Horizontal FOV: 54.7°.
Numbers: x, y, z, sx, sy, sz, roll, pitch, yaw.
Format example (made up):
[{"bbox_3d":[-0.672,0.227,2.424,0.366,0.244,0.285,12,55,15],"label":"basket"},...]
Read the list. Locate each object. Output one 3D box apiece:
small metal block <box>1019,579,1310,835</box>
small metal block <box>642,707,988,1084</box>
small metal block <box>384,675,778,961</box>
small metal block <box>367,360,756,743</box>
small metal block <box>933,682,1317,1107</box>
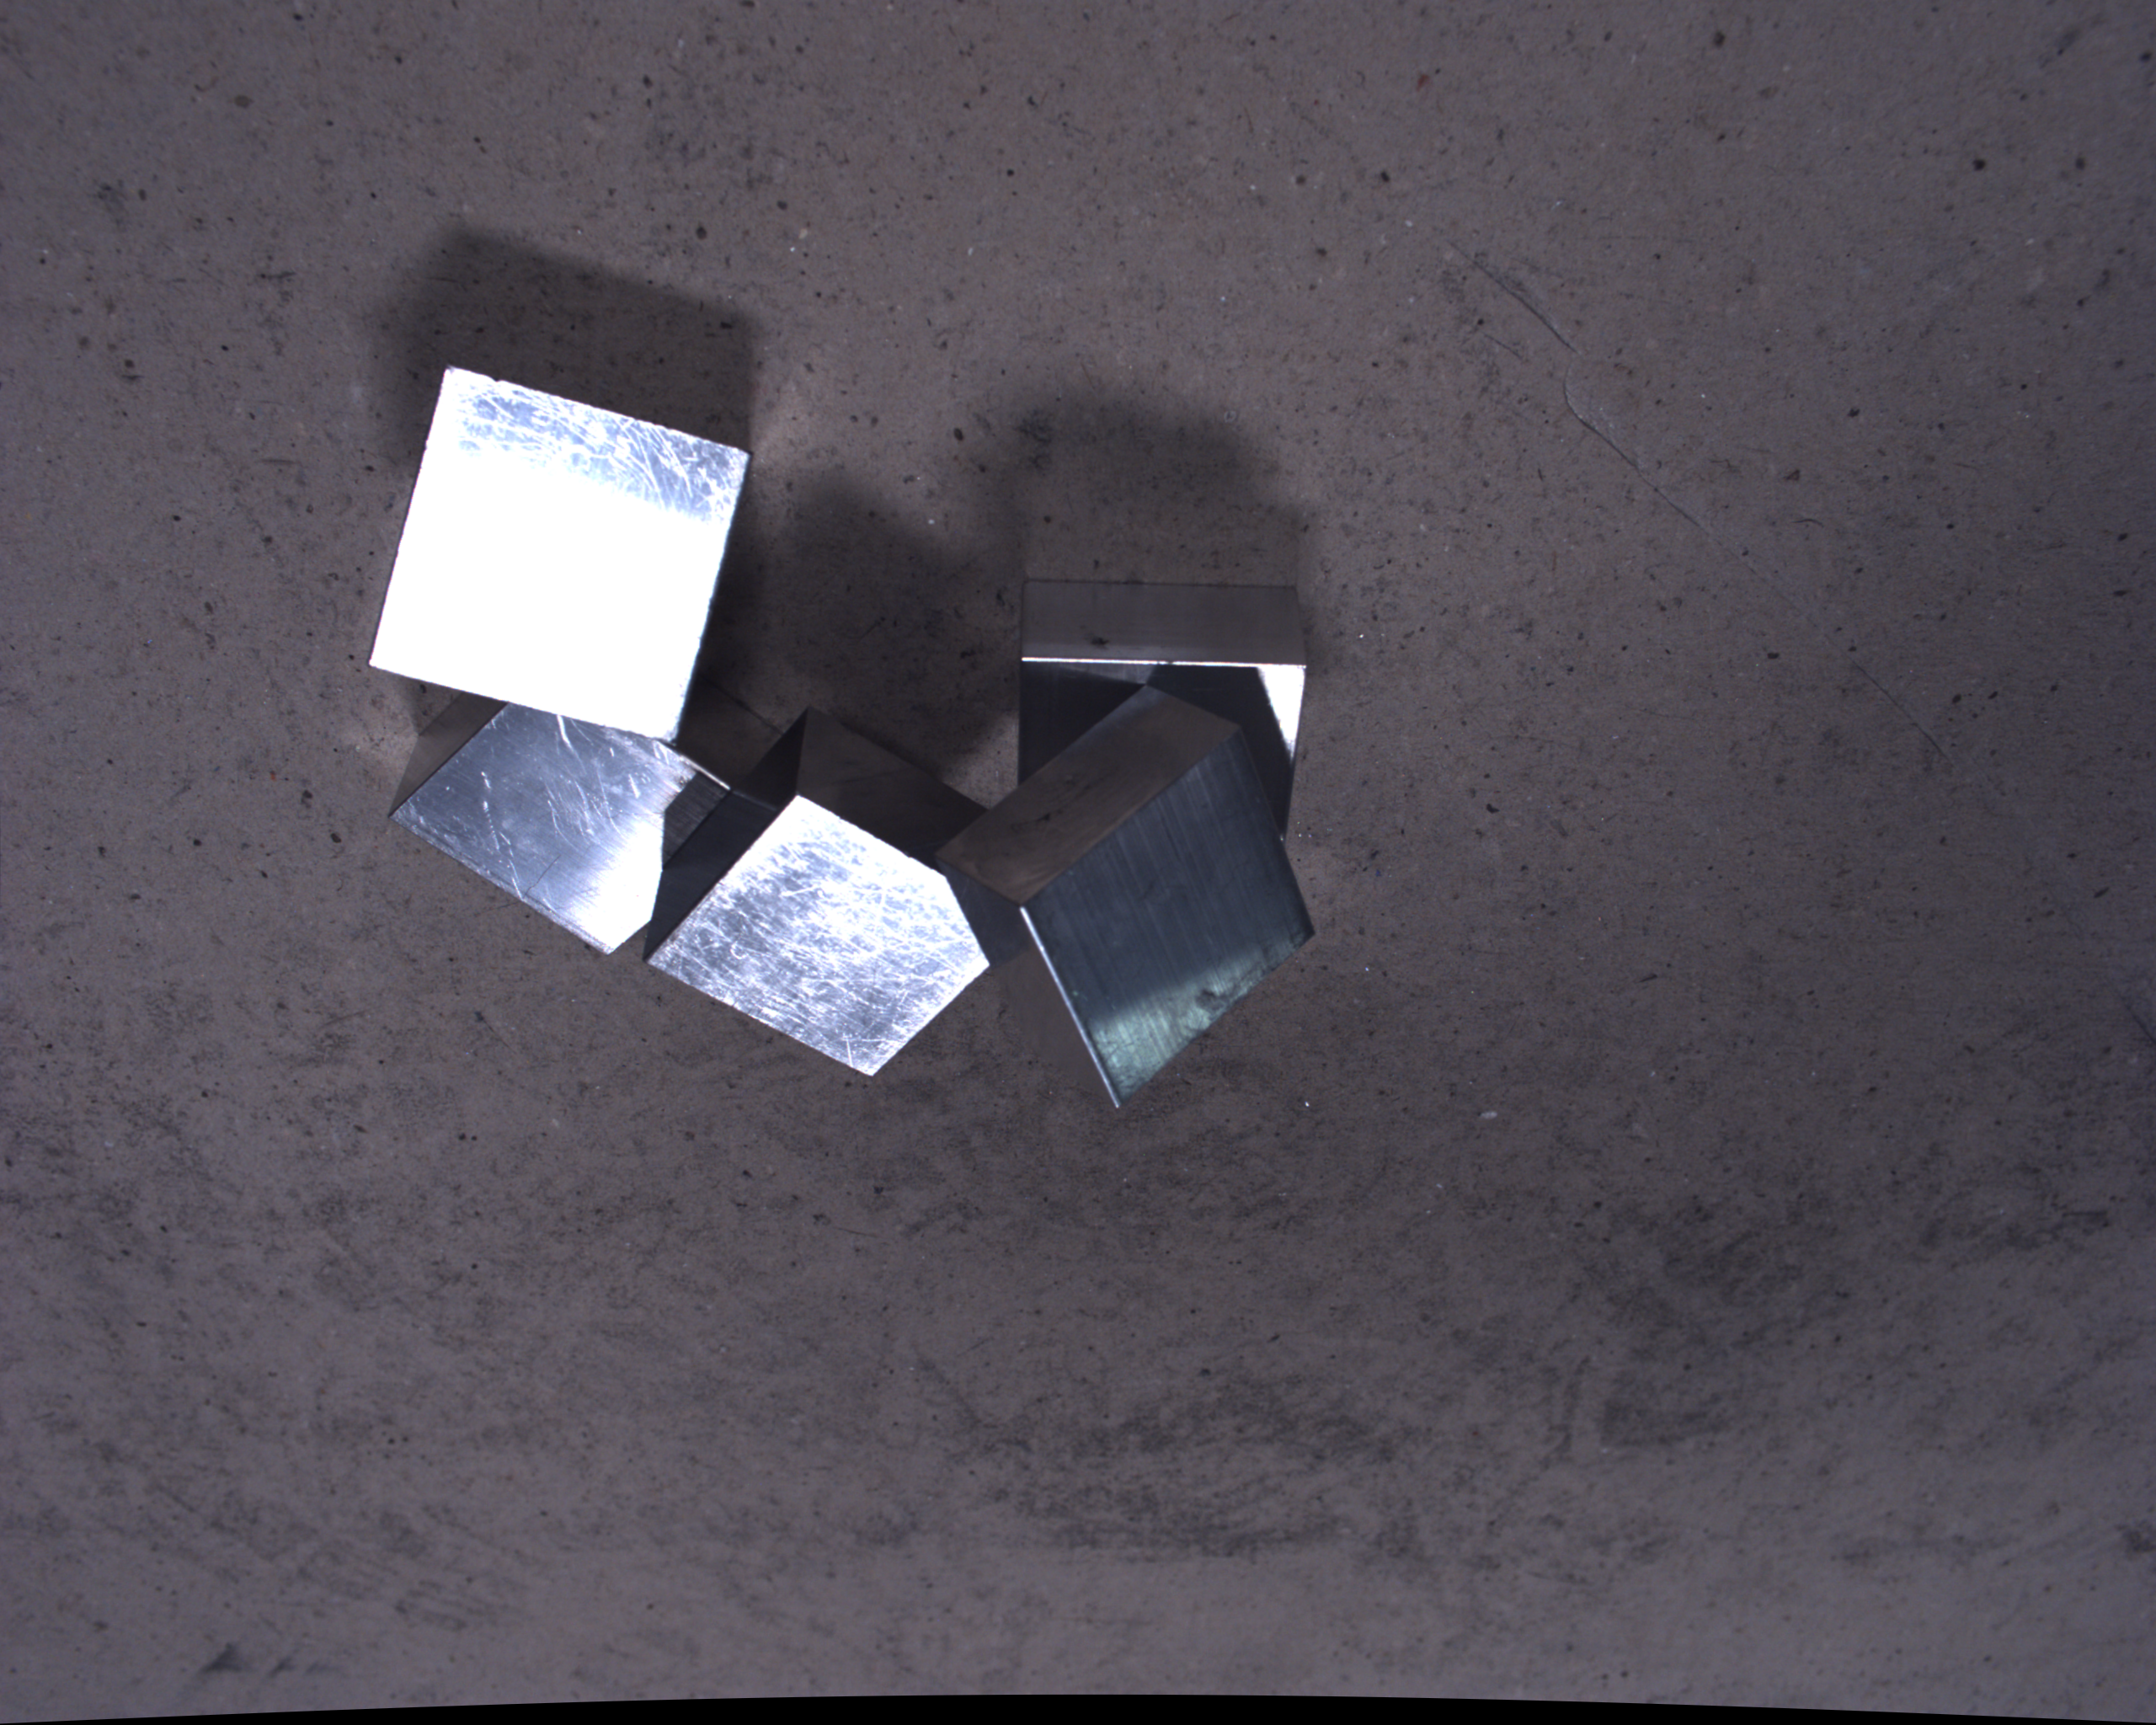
[{"bbox_3d":[0.014,-0.024,0.388,0.050,0.025,0.050,1,130,-2],"label":"small metal block"},{"bbox_3d":[-0.043,0.007,0.380,0.050,0.025,0.050,30,124,-24],"label":"small metal block"},{"bbox_3d":[-0.092,-0.016,0.394,0.050,0.025,0.050,-37,122,27],"label":"small metal block"},{"bbox_3d":[-0.086,-0.051,0.349,0.050,0.025,0.050,14,92,-13],"label":"small metal block"},{"bbox_3d":[0.010,0.005,0.364,0.050,0.025,0.050,-40,131,-20],"label":"small metal block"}]
